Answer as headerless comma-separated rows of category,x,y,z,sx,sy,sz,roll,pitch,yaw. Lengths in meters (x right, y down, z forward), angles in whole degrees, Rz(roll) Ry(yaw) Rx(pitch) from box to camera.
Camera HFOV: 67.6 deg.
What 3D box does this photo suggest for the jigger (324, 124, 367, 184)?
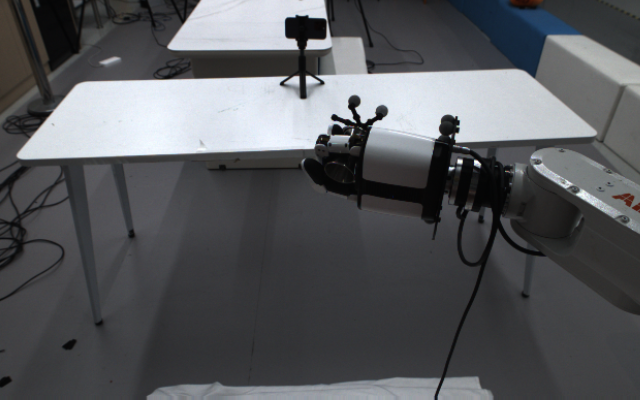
jigger,0.039,-0.065,0.650,0.043,0.043,0.071,15,58,18
